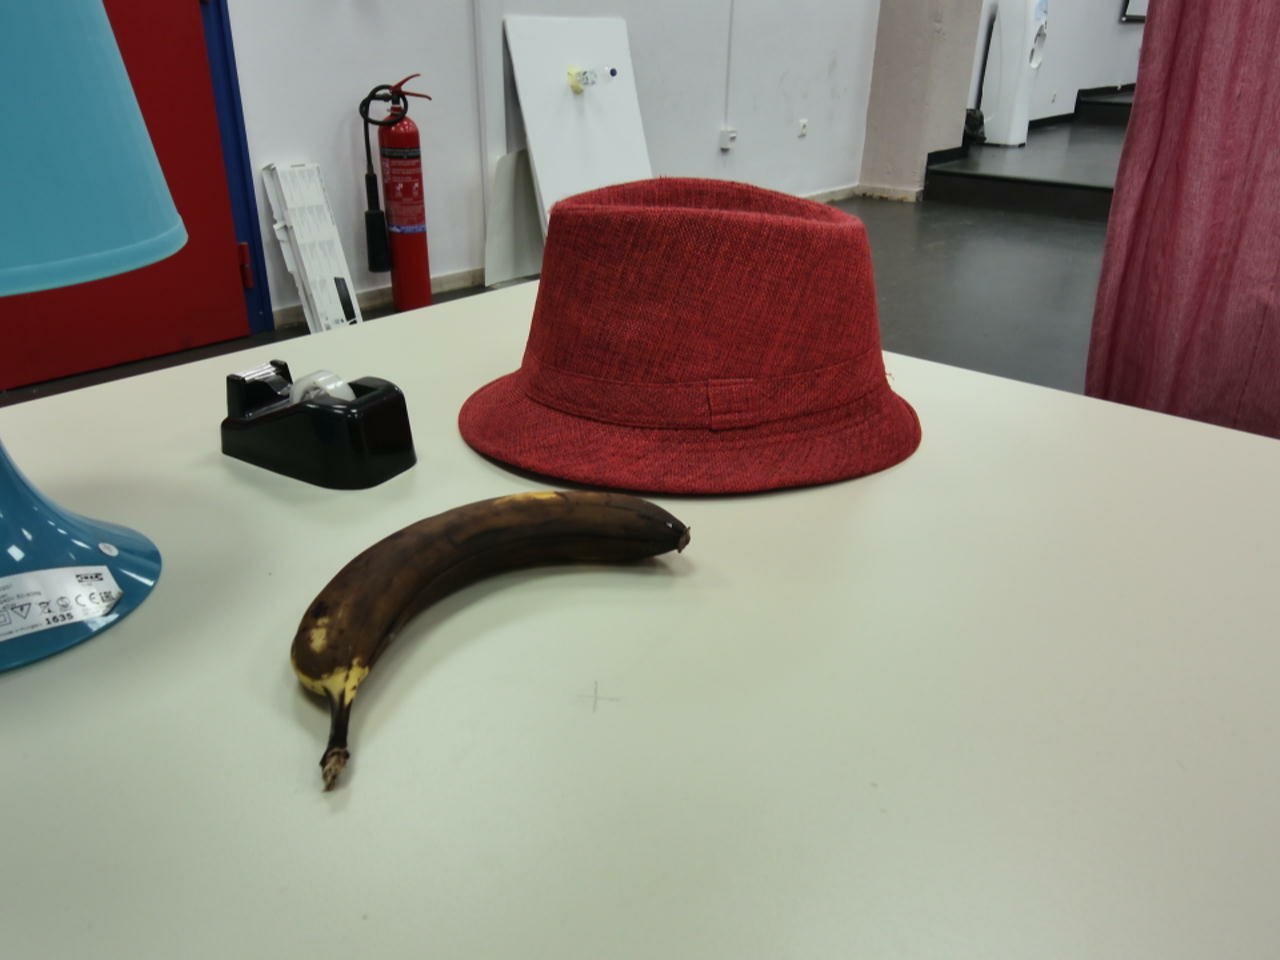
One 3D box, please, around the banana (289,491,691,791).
[{"bbox_3d":[-0.068,0.039,0.392,0.091,0.034,0.188,18,29,36],"label":"banana"}]
